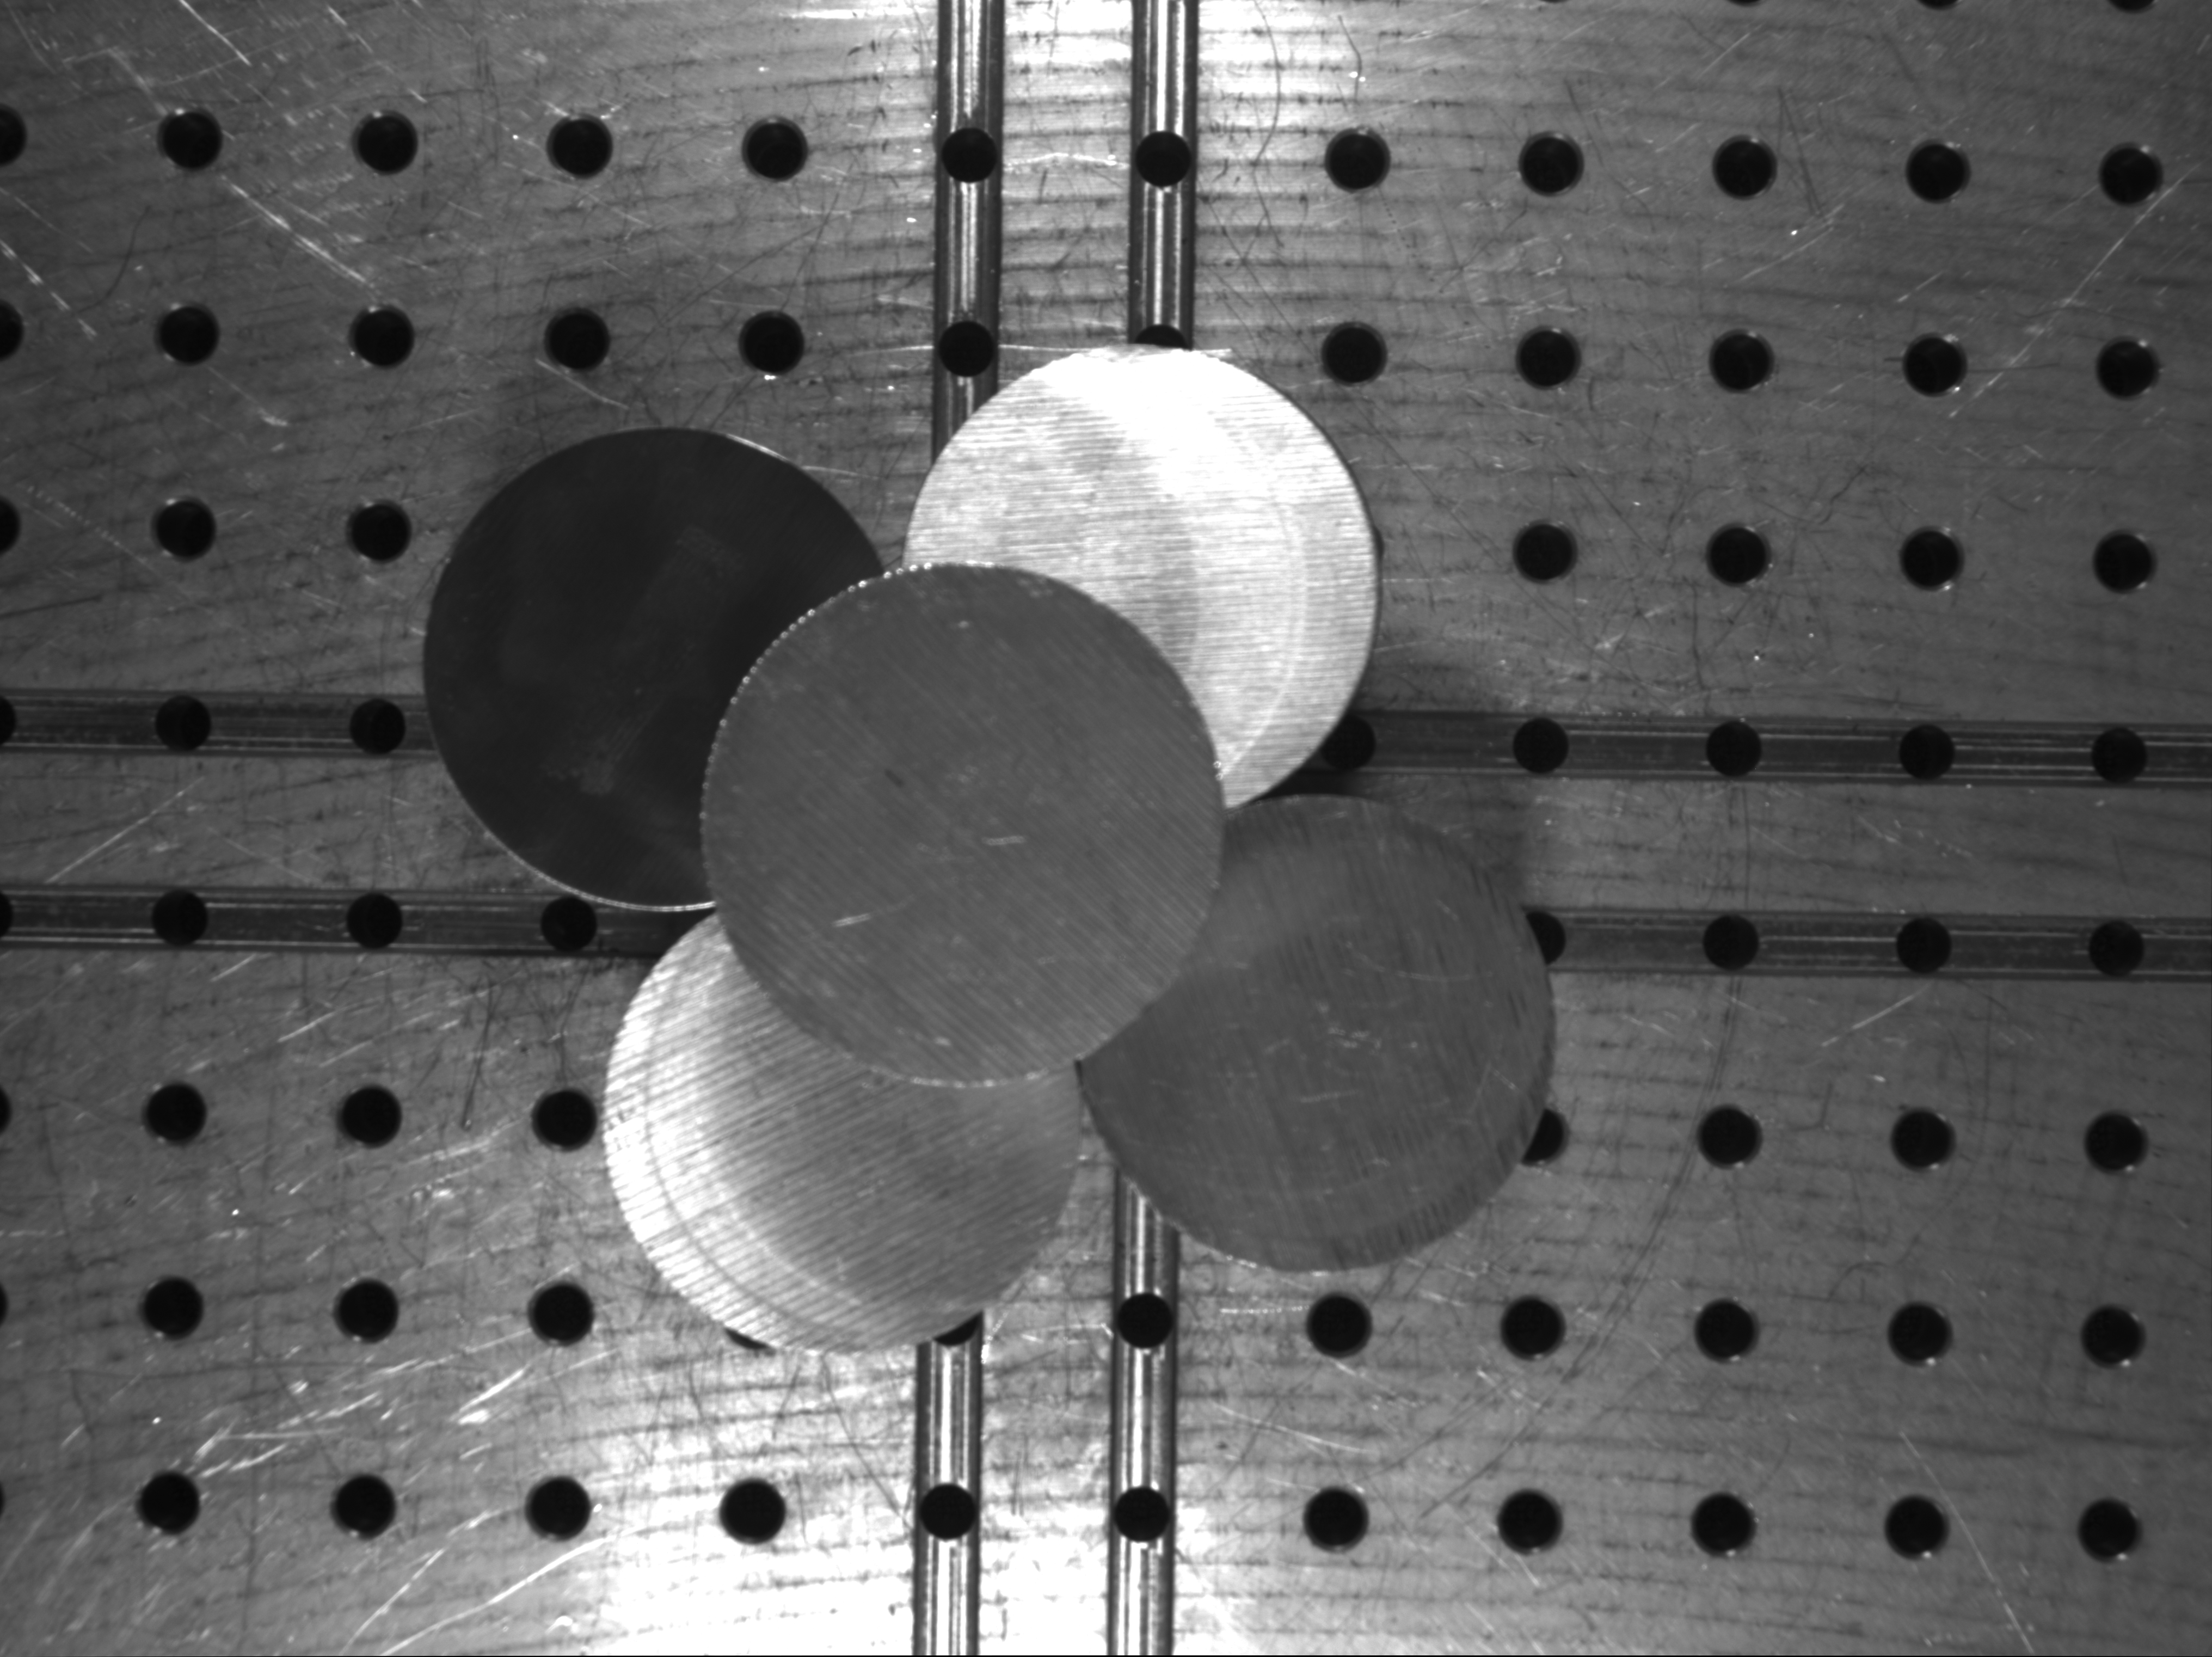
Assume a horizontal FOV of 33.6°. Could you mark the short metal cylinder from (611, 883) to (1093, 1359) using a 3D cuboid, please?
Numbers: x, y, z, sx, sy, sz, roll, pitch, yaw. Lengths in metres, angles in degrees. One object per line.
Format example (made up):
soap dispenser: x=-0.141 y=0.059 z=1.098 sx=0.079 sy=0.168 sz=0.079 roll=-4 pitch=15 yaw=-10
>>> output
short metal cylinder: x=-0.042 y=0.048 z=0.634 sx=0.080 sy=0.050 sz=0.080 roll=0 pitch=90 yaw=0

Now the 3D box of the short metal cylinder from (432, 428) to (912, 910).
short metal cylinder: x=-0.072 y=-0.026 z=0.634 sx=0.080 sy=0.050 sz=0.080 roll=0 pitch=90 yaw=0

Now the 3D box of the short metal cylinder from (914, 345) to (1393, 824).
short metal cylinder: x=0.008 y=-0.040 z=0.634 sx=0.080 sy=0.050 sz=0.080 roll=0 pitch=90 yaw=0

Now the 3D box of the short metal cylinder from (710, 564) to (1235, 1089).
short metal cylinder: x=-0.021 y=-0.001 z=0.583 sx=0.080 sy=0.050 sz=0.080 roll=0 pitch=91 yaw=-1

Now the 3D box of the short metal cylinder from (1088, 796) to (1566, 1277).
short metal cylinder: x=0.037 y=0.035 z=0.635 sx=0.080 sy=0.050 sz=0.080 roll=0 pitch=90 yaw=0
